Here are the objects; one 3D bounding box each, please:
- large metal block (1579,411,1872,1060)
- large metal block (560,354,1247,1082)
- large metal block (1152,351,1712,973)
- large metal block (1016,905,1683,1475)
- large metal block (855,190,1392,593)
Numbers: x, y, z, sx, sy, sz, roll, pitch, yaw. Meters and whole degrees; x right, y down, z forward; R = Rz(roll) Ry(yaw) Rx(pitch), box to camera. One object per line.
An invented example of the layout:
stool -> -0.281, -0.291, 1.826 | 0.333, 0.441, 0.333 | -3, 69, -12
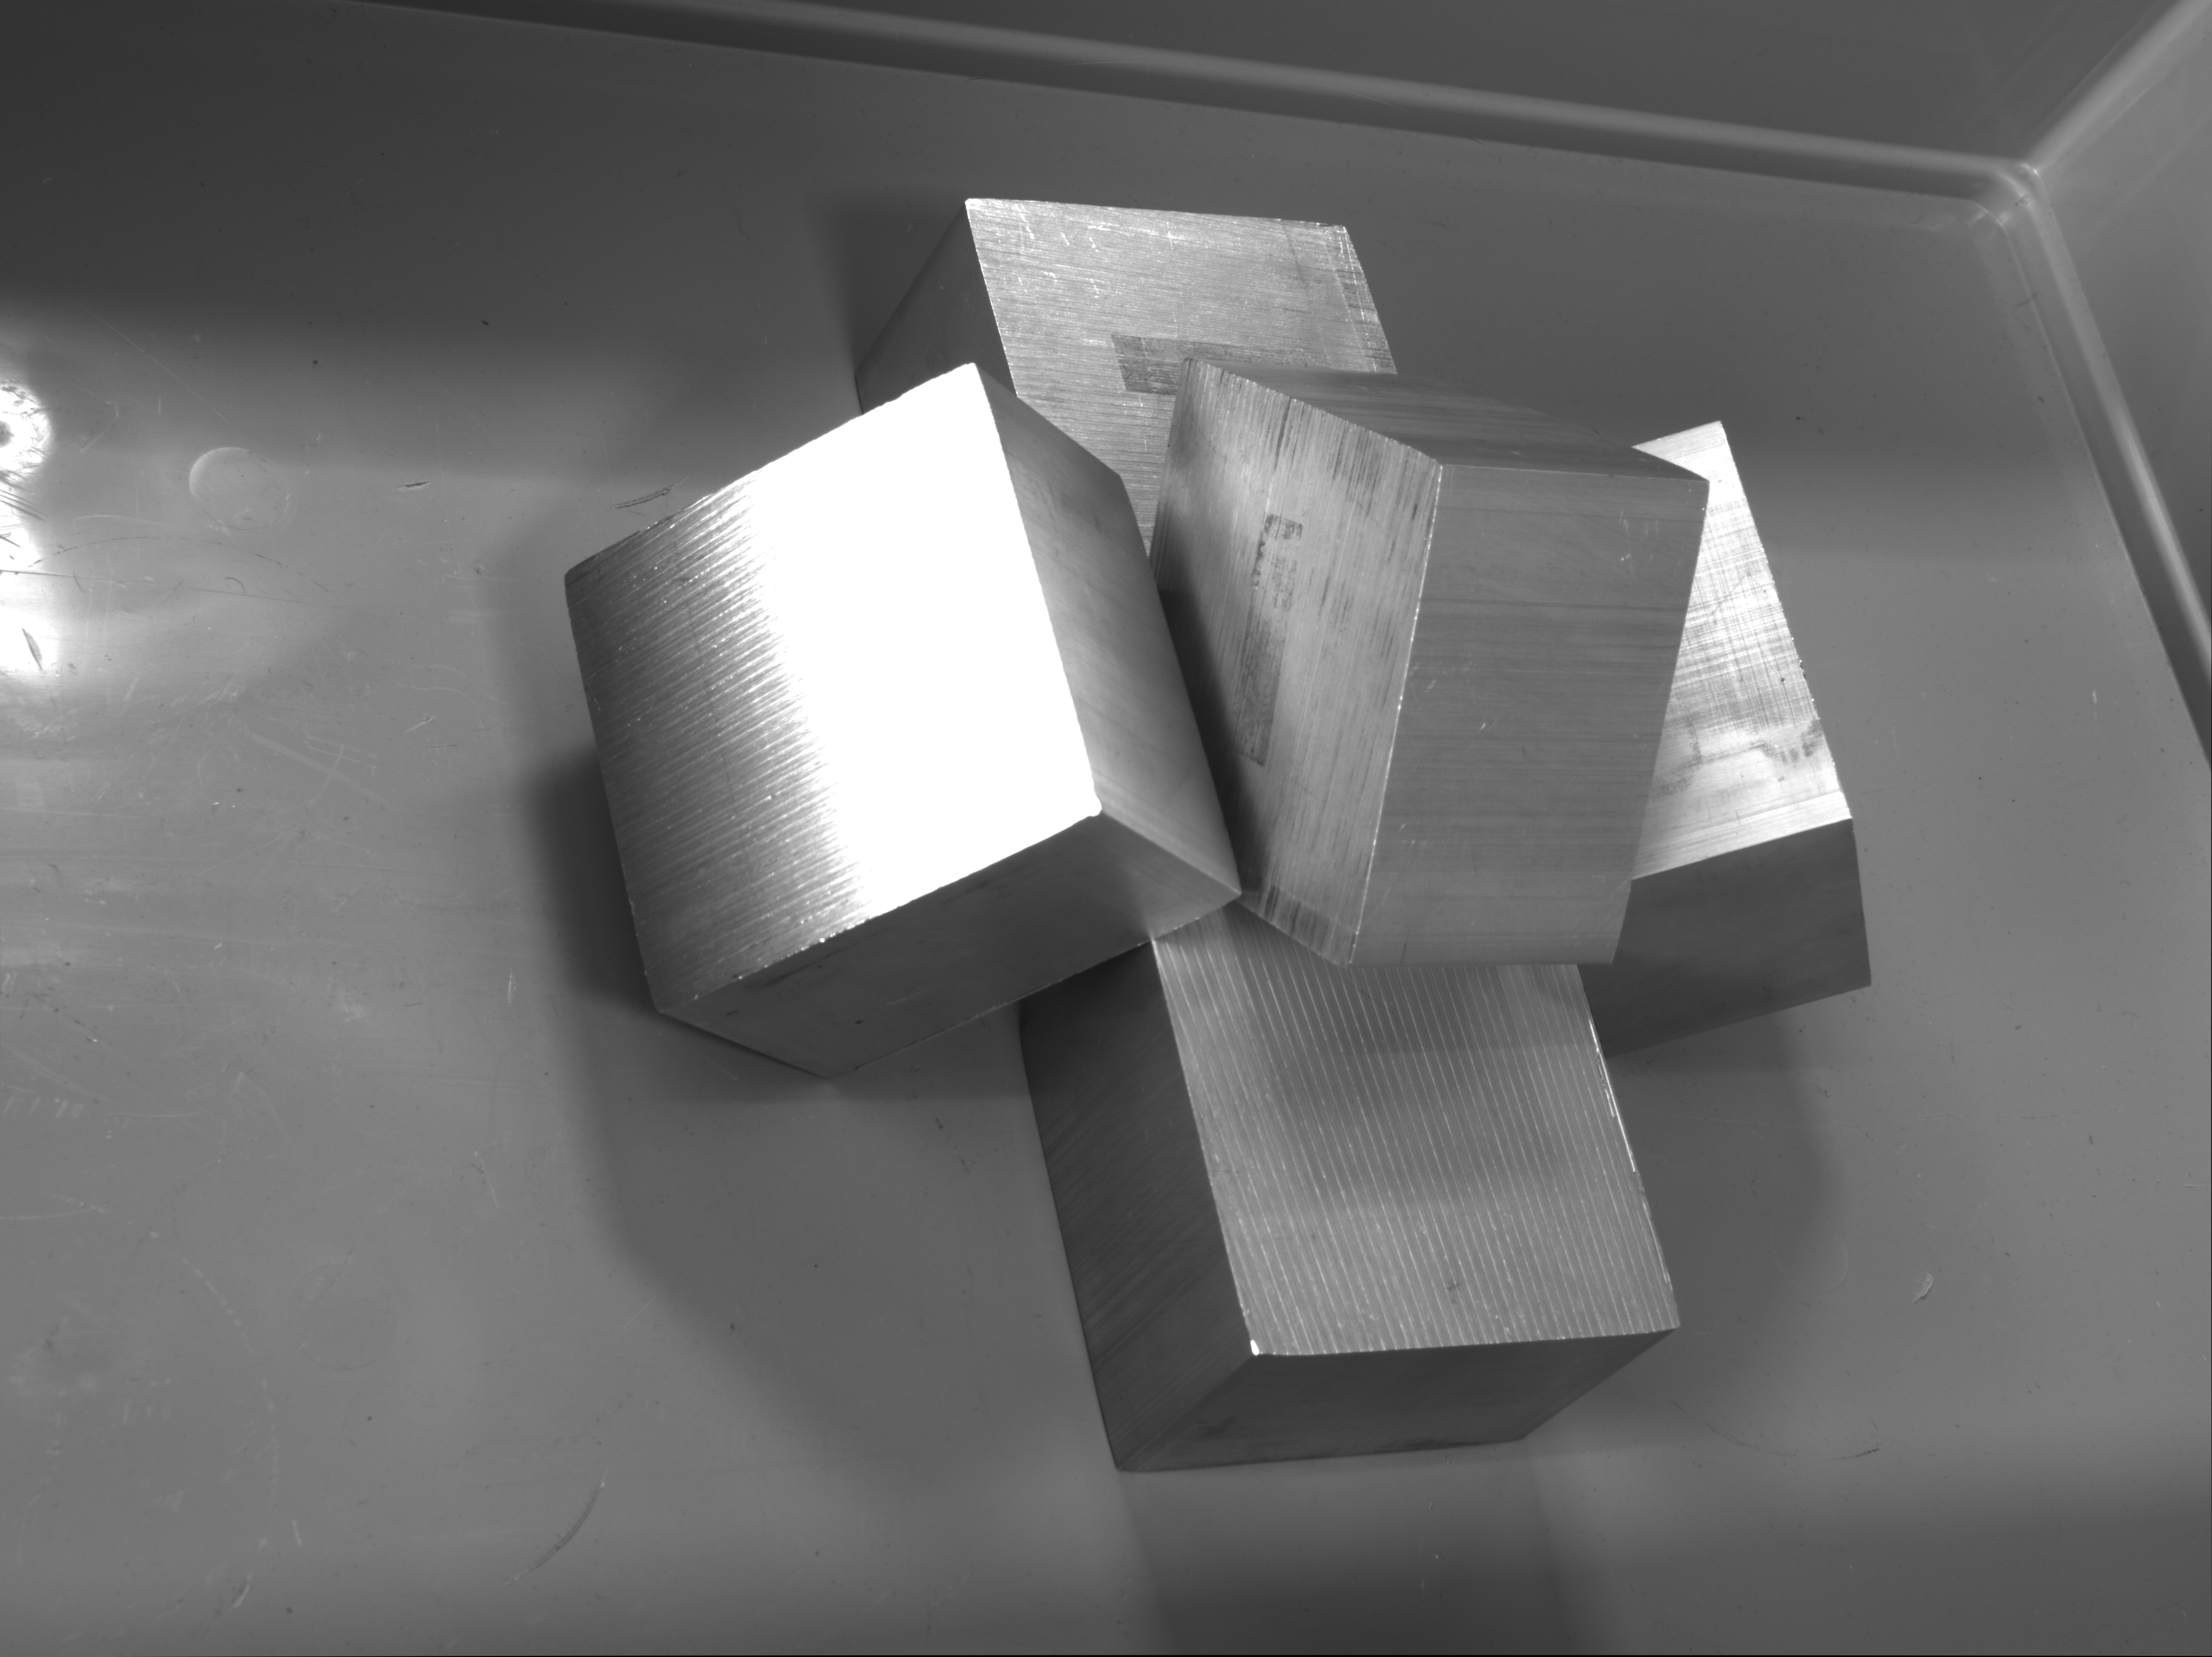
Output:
large metal block -> 0.099, -0.015, 0.655 | 0.050, 0.080, 0.080 | -16, 65, 7
large metal block -> -0.033, -0.016, 0.584 | 0.050, 0.080, 0.080 | 30, 40, -58
large metal block -> 0.046, -0.028, 0.593 | 0.050, 0.080, 0.080 | 0, 18, -29
large metal block -> 0.039, 0.058, 0.607 | 0.080, 0.050, 0.080 | 1, 61, -28
large metal block -> 0.009, -0.065, 0.663 | 0.080, 0.050, 0.080 | -1, 62, -29
